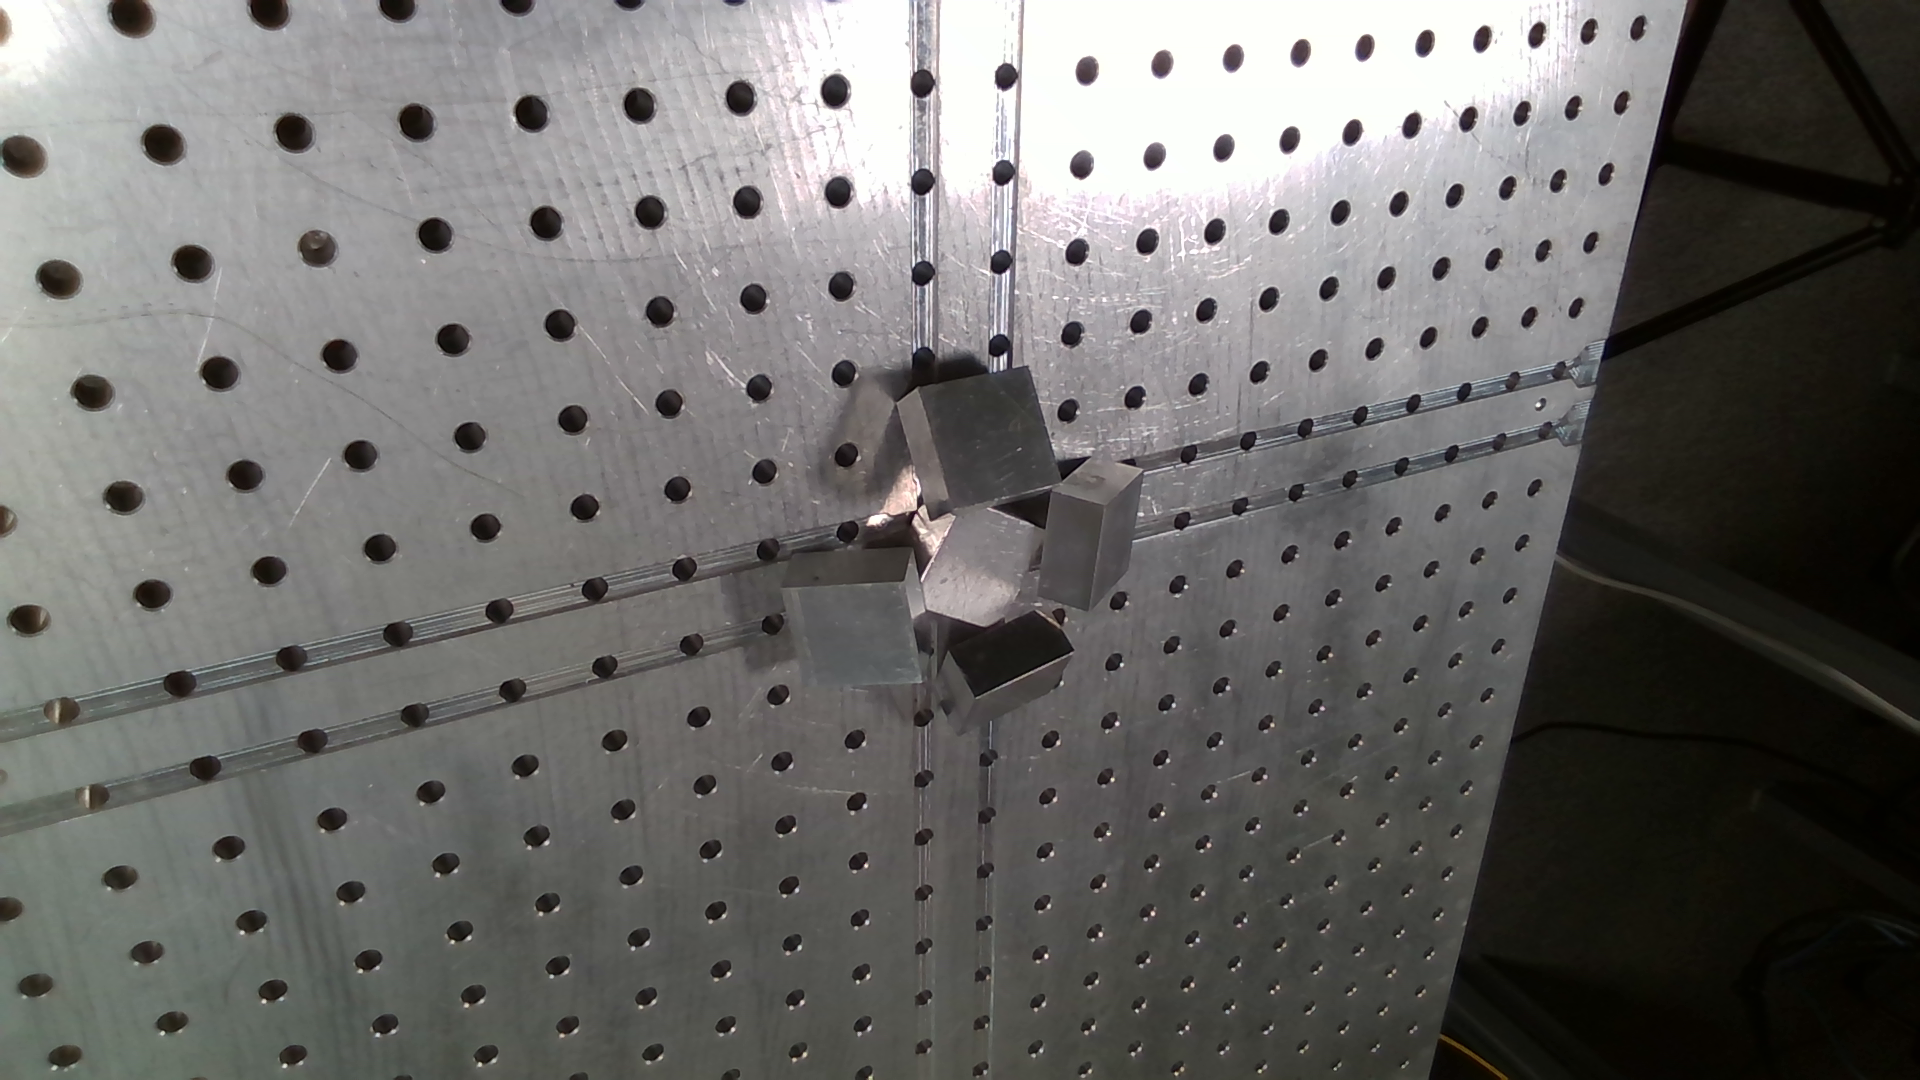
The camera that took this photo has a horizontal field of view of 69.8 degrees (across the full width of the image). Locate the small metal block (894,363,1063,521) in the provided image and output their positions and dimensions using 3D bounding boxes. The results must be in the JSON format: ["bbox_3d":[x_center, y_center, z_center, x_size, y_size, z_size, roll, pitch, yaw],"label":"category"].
[{"bbox_3d":[0.007,-0.039,0.552,0.050,0.025,0.050,-15,87,-25],"label":"small metal block"}]

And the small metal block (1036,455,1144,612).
[{"bbox_3d":[0.057,-0.004,0.601,0.050,0.025,0.050,-39,140,-57],"label":"small metal block"}]

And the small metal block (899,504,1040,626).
[{"bbox_3d":[0.003,0.006,0.588,0.050,0.025,0.050,19,104,-37],"label":"small metal block"}]

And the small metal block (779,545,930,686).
[{"bbox_3d":[-0.041,0.031,0.559,0.050,0.025,0.050,-3,123,10],"label":"small metal block"}]

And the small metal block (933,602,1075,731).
[{"bbox_3d":[0.018,0.058,0.611,0.050,0.025,0.050,-23,160,-20],"label":"small metal block"}]
